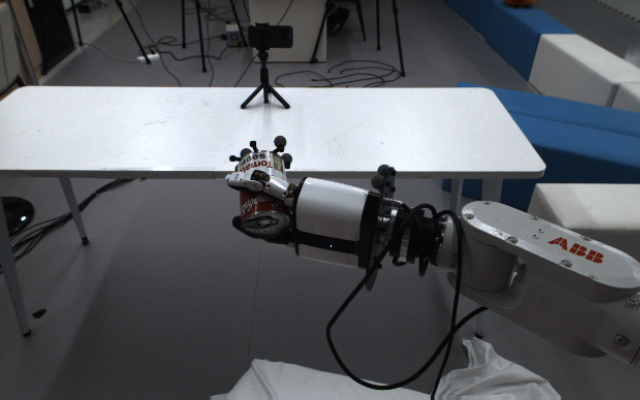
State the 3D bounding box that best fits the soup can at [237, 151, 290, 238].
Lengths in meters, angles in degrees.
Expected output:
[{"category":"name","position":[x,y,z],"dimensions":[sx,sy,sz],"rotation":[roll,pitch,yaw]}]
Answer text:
[{"category":"soup can","position":[-0.075,-0.007,0.655],"dimensions":[0.067,0.067,0.101],"rotation":[-5,57,-9]}]
